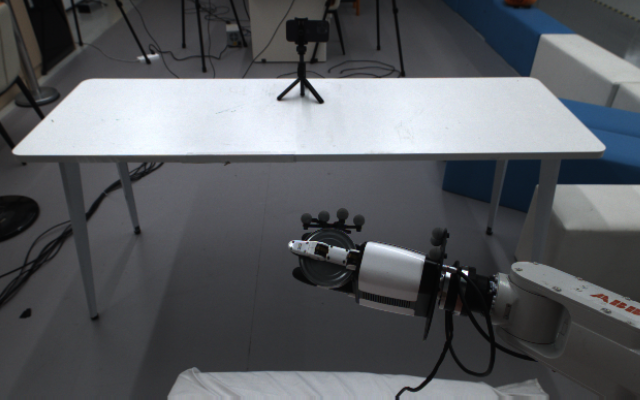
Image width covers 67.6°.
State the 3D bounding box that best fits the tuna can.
[{"bbox_3d":[0.015,0.086,0.707,0.085,0.034,0.085,-3,73,10],"label":"tuna can"}]
